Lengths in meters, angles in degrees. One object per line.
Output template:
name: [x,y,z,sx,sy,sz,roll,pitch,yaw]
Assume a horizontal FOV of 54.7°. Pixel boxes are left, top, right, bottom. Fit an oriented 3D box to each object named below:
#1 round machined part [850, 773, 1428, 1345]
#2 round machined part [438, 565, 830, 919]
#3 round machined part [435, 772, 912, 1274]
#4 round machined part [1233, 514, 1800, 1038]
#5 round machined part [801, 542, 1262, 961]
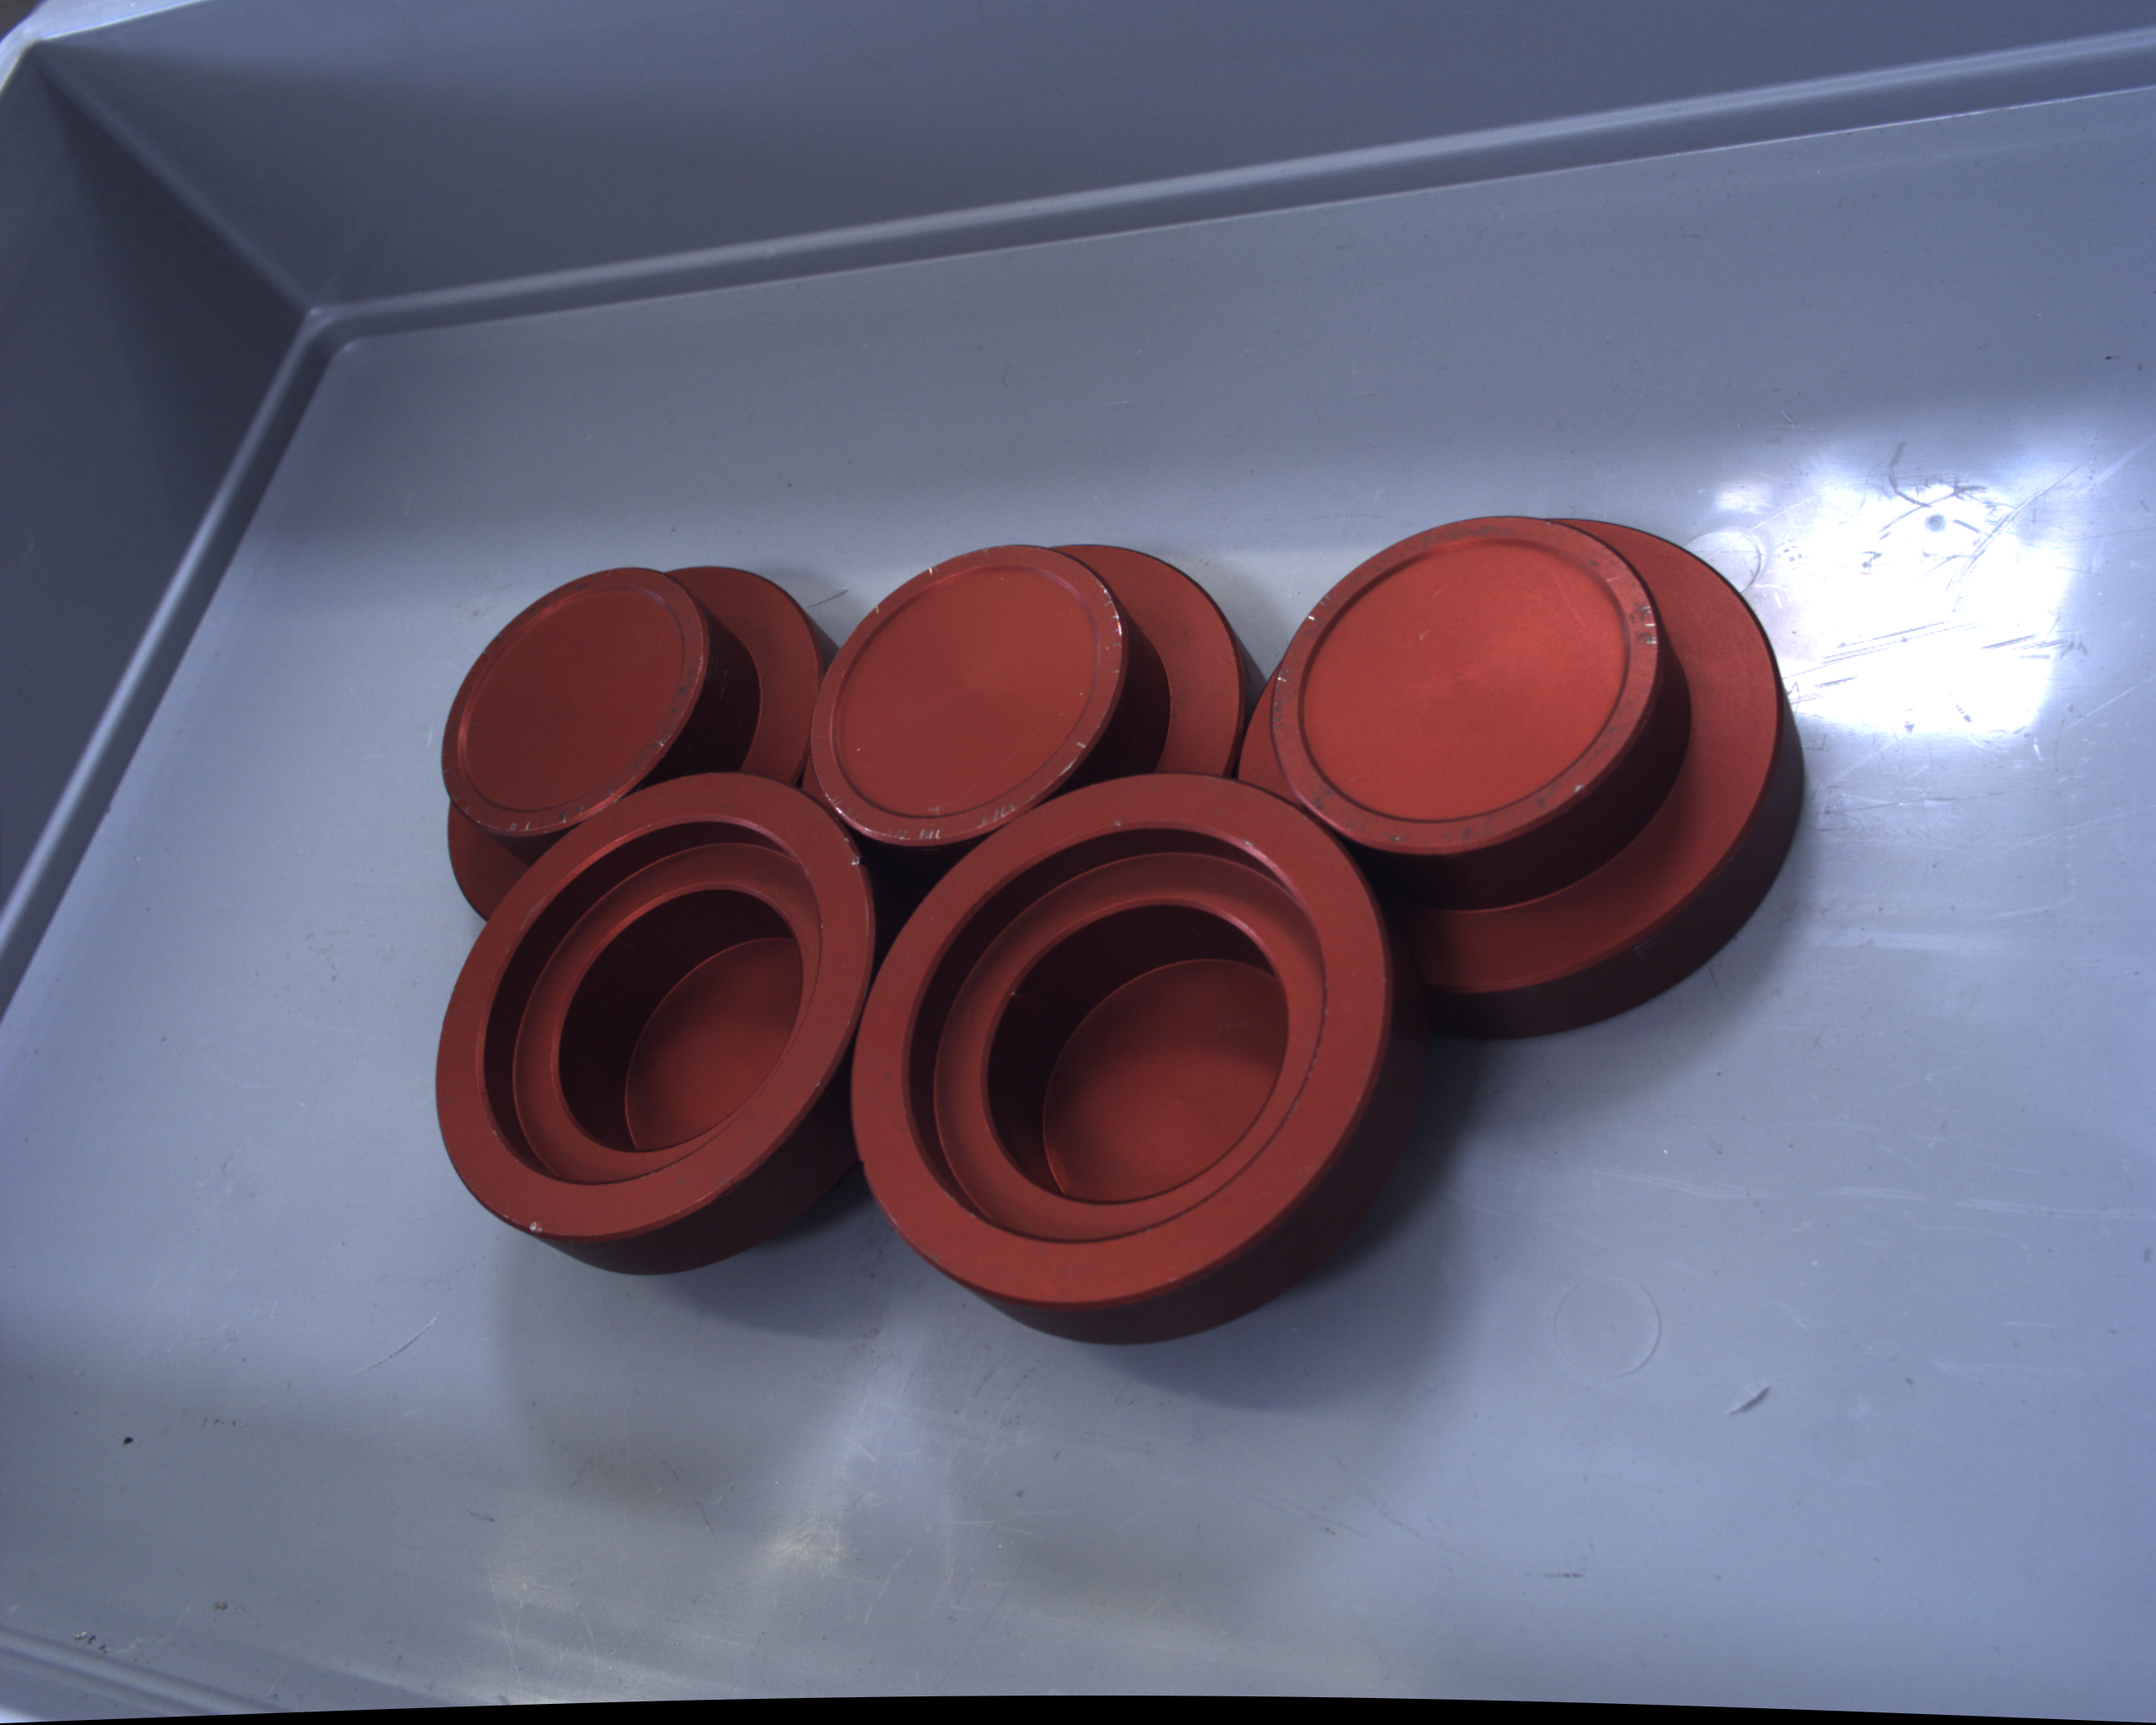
round machined part: [0.013,0.036,0.363,0.098,0.042,0.098,-13,56,21]
round machined part: [-0.100,-0.027,0.460,0.098,0.042,0.098,-13,56,20]
round machined part: [-0.073,0.034,0.410,0.098,0.042,0.098,-13,56,21]
round machined part: [0.072,-0.022,0.367,0.098,0.042,0.098,-14,55,21]
round machined part: [-0.014,-0.024,0.414,0.098,0.042,0.098,-14,55,21]
